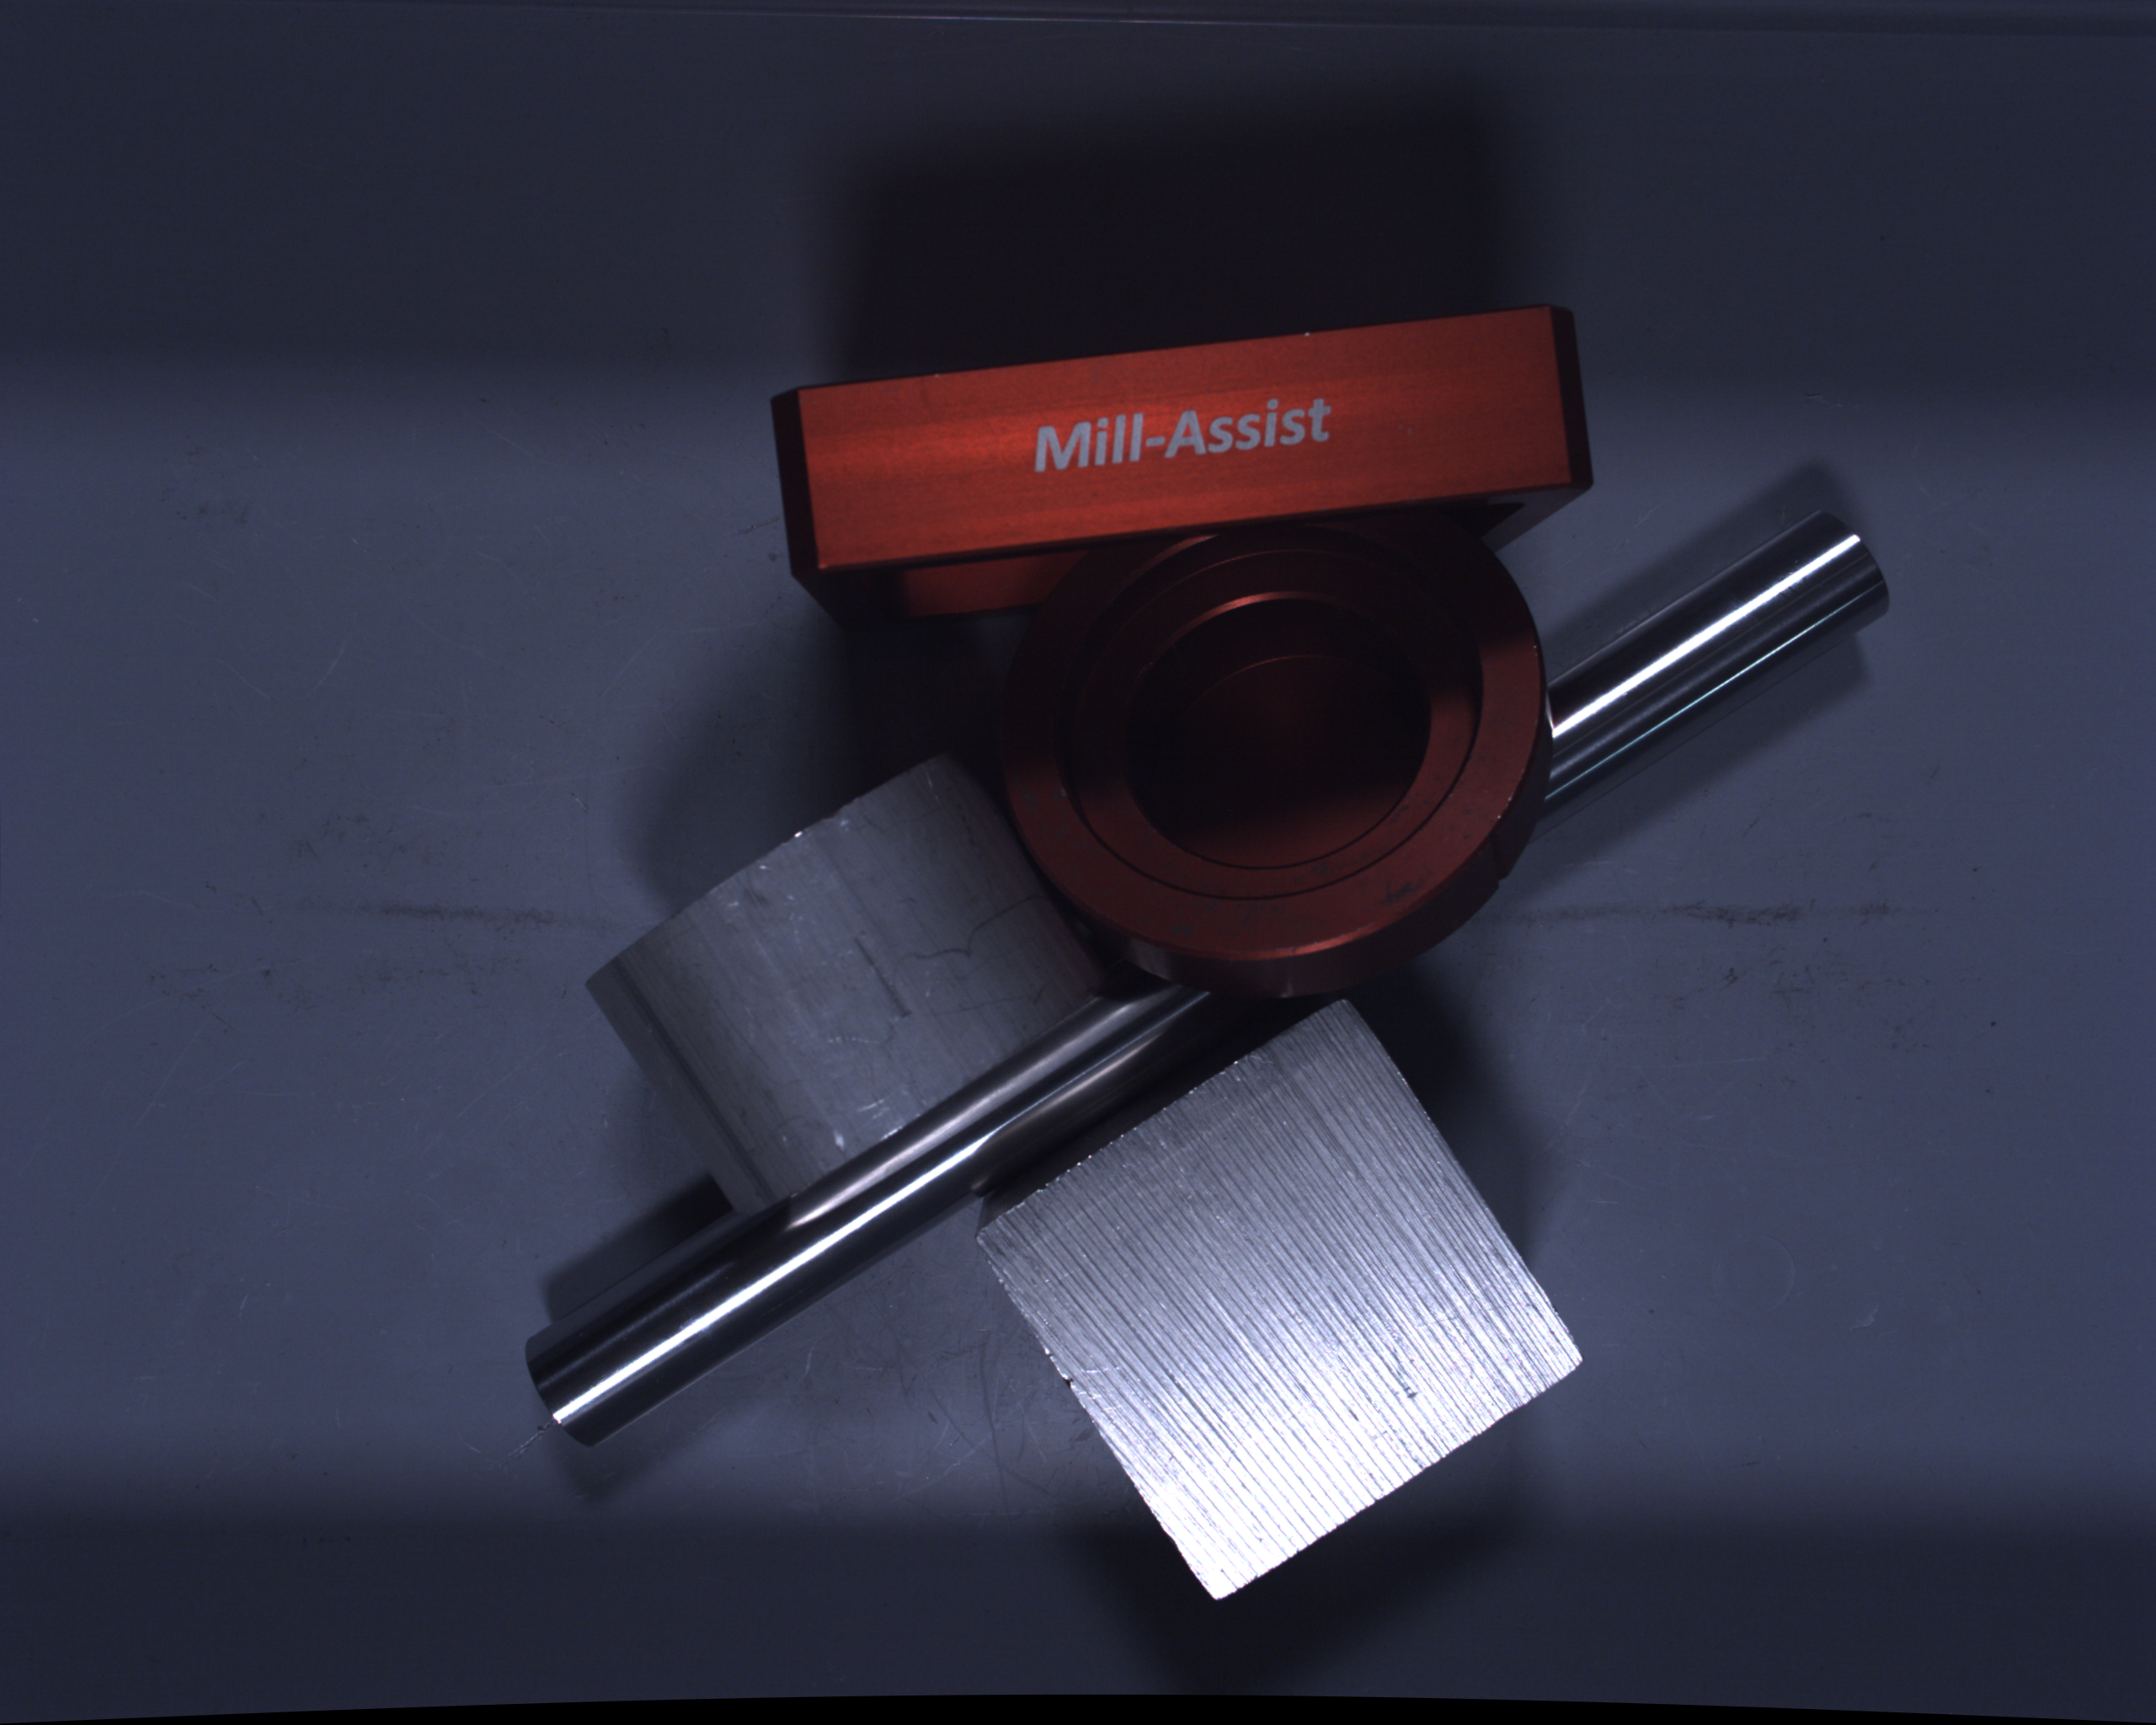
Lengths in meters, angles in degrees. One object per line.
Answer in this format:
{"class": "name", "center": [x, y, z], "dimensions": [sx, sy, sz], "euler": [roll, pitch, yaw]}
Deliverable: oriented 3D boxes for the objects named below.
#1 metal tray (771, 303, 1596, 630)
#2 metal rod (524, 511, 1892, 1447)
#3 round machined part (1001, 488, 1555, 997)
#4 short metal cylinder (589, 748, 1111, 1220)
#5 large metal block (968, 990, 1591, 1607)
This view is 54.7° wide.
{"class": "metal tray", "center": [0.017, -0.068, 0.377], "dimensions": [0.131, 0.090, 0.030], "euler": [-6, 90, -1]}
{"class": "metal rod", "center": [0.026, 0.022, 0.410], "dimensions": [0.301, 0.025, 0.025], "euler": [-33, 90, -1]}
{"class": "round machined part", "center": [0.039, -0.020, 0.388], "dimensions": [0.098, 0.042, 0.098], "euler": [-6, 64, 13]}
{"class": "short metal cylinder", "center": [-0.041, 0.022, 0.382], "dimensions": [0.080, 0.080, 0.050], "euler": [-33, 90, 0]}
{"class": "large metal block", "center": [0.036, 0.078, 0.397], "dimensions": [0.080, 0.050, 0.080], "euler": [-33, 90, 0]}
